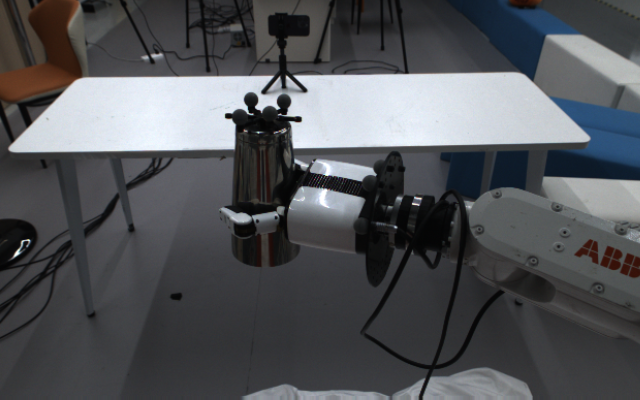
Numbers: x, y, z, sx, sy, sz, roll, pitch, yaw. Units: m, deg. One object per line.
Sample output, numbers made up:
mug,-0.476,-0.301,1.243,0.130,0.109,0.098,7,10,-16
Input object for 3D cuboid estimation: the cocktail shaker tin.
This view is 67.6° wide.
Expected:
cocktail shaker tin,-0.067,-0.013,0.603,0.093,0.170,0.093,2,28,-1
